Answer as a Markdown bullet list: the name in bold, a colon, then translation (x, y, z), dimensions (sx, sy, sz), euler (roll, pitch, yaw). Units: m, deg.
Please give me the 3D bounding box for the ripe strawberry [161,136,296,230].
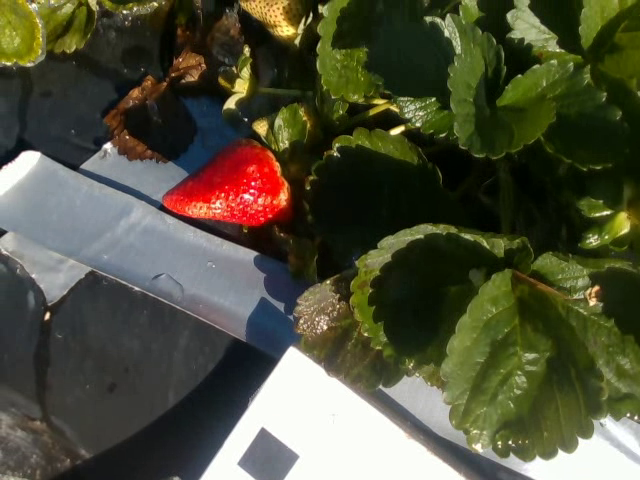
- **ripe strawberry**: translation (-0.052, -0.021, 0.345), dimensions (0.065, 0.061, 0.057), euler (-23, 0, -32)
